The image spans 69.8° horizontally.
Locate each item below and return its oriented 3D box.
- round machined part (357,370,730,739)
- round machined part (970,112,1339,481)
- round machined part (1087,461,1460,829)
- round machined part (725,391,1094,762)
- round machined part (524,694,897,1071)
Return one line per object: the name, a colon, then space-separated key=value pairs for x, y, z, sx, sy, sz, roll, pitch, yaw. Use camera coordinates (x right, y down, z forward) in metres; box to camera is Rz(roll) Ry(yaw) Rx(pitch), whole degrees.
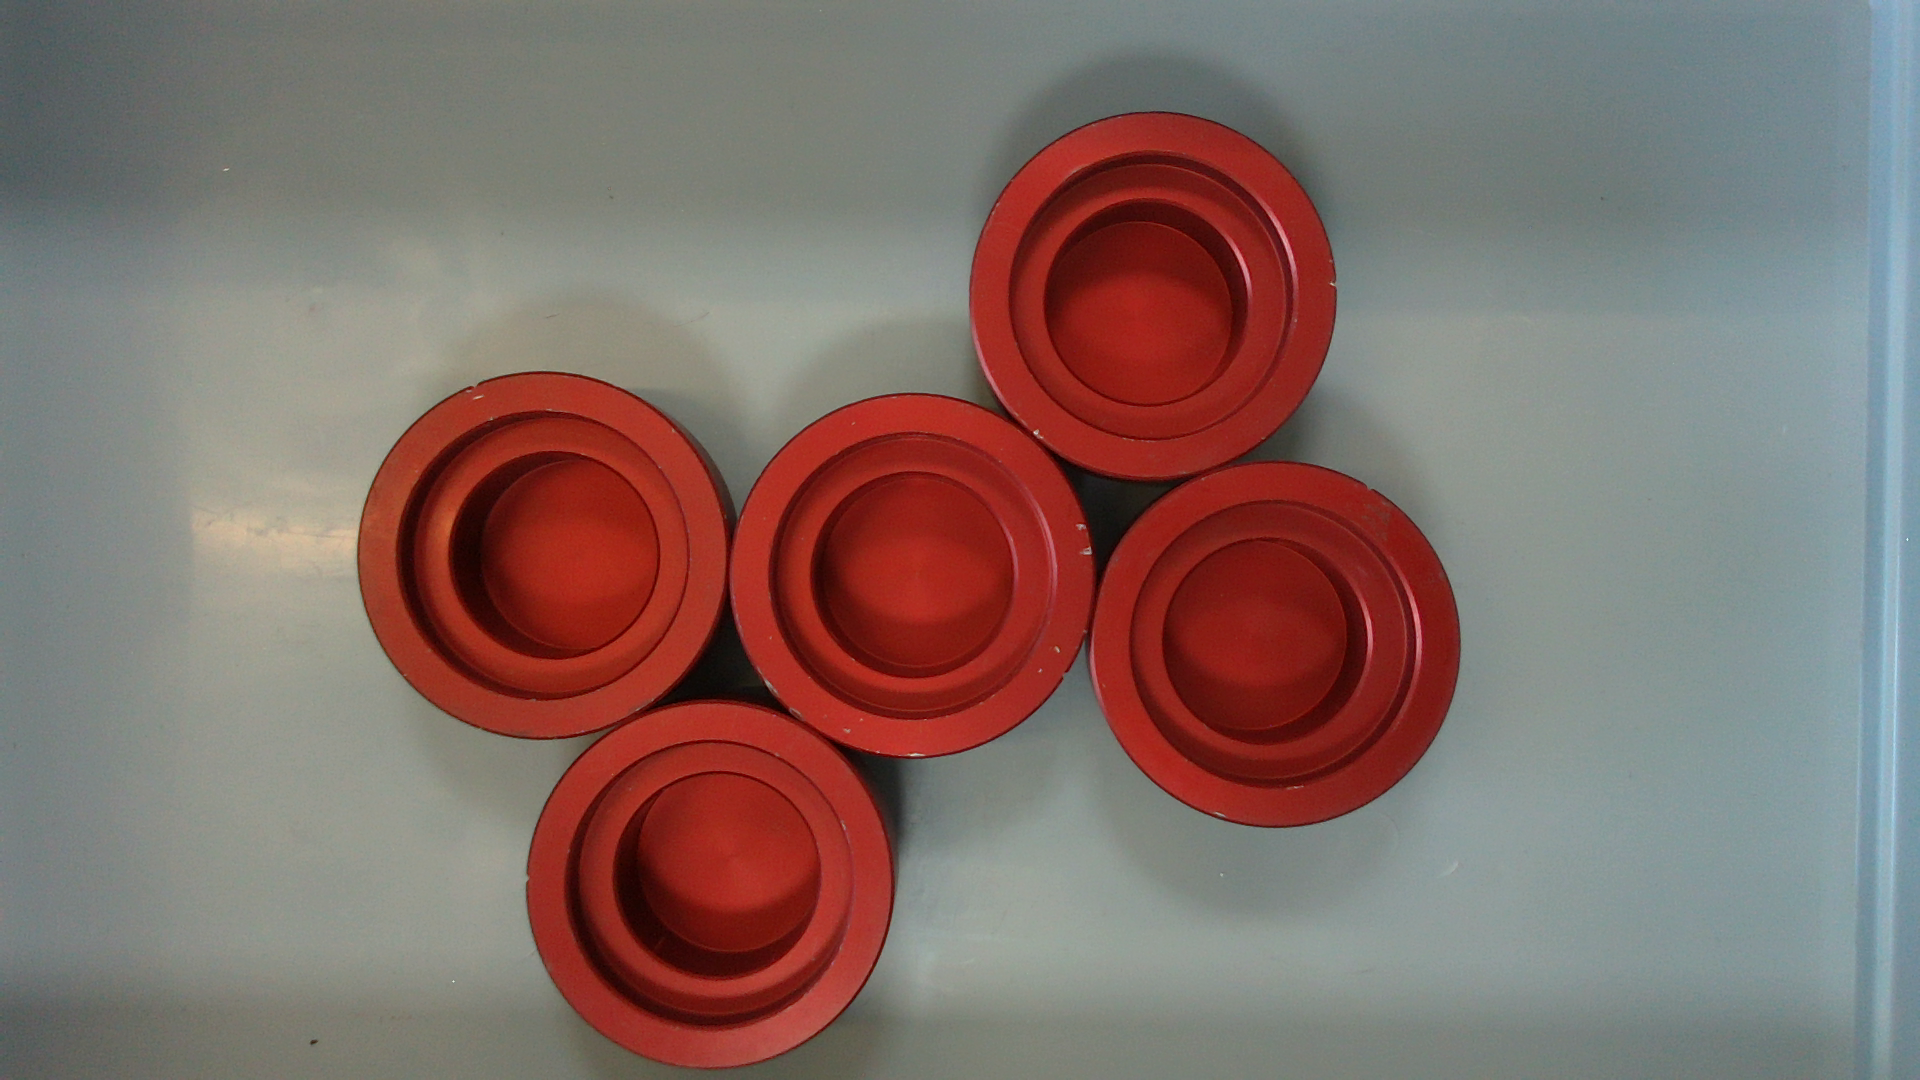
round machined part: x=-0.111 y=0.004 z=0.384 sx=0.098 sy=0.042 sz=0.098 roll=0 pitch=90 yaw=0
round machined part: x=0.052 y=-0.065 z=0.385 sx=0.098 sy=0.042 sz=0.098 roll=0 pitch=90 yaw=0
round machined part: x=0.084 y=0.028 z=0.385 sx=0.098 sy=0.042 sz=0.098 roll=0 pitch=90 yaw=0
round machined part: x=-0.013 y=0.010 z=0.384 sx=0.098 sy=0.042 sz=0.098 roll=0 pitch=90 yaw=0
round machined part: x=-0.066 y=0.092 z=0.384 sx=0.098 sy=0.042 sz=0.098 roll=0 pitch=90 yaw=0
